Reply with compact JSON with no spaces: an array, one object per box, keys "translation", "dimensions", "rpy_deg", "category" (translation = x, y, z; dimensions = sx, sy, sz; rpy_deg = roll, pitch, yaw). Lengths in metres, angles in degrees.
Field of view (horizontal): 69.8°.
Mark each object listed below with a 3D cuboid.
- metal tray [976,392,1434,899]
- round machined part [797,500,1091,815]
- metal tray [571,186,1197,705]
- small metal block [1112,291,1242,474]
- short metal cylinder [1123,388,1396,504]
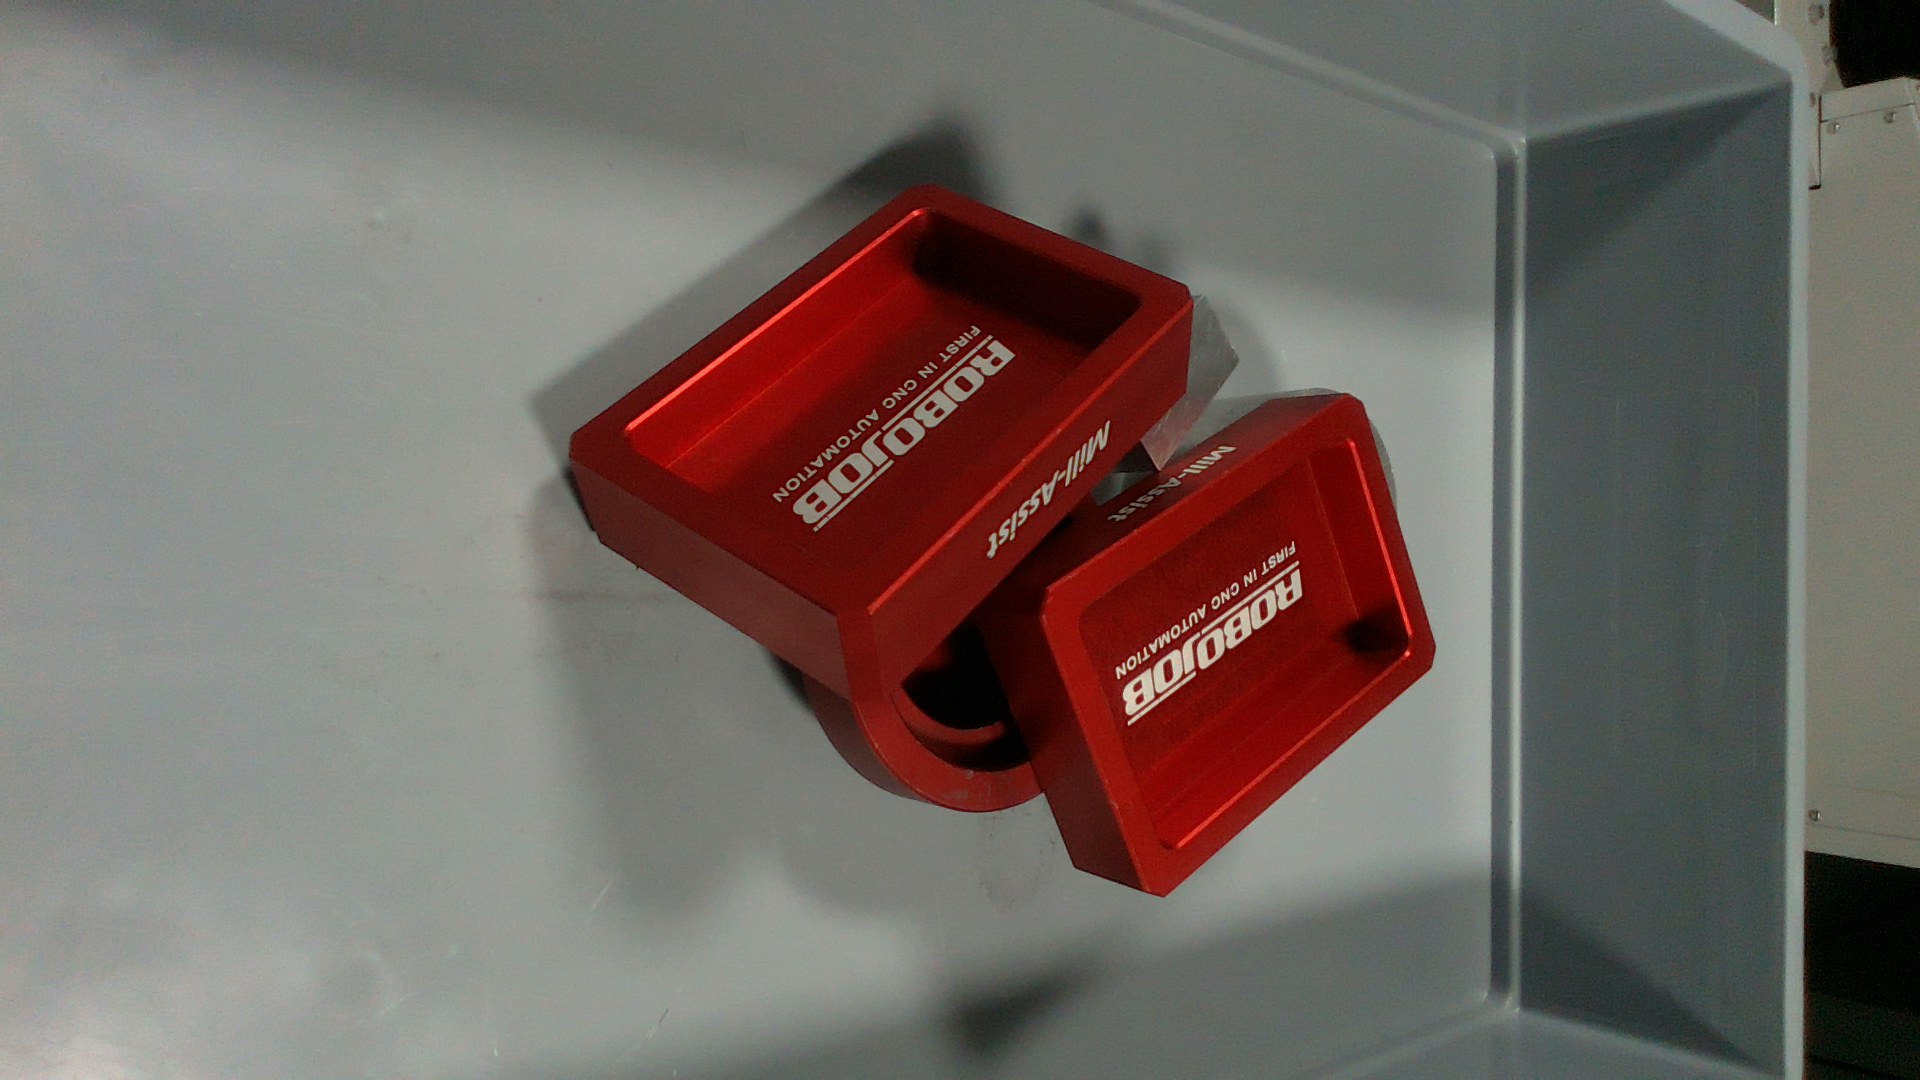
[{"translation":[0.073,0.025,0.383],"dimensions":[0.130,0.030,0.090],"rpy_deg":[-31,109,-31],"category":"metal tray"},{"translation":[-0.004,0.022,0.374],"dimensions":[0.098,0.042,0.098],"rpy_deg":[0,90,-40],"category":"round machined part"},{"translation":[-0.014,-0.031,0.331],"dimensions":[0.130,0.090,0.030],"rpy_deg":[-44,148,-31],"category":"metal tray"},{"translation":[0.047,-0.045,0.410],"dimensions":[0.050,0.050,0.025],"rpy_deg":[-51,120,-29],"category":"small metal block"},{"translation":[0.099,-0.008,0.453],"dimensions":[0.080,0.050,0.080],"rpy_deg":[0,90,-40],"category":"short metal cylinder"}]
